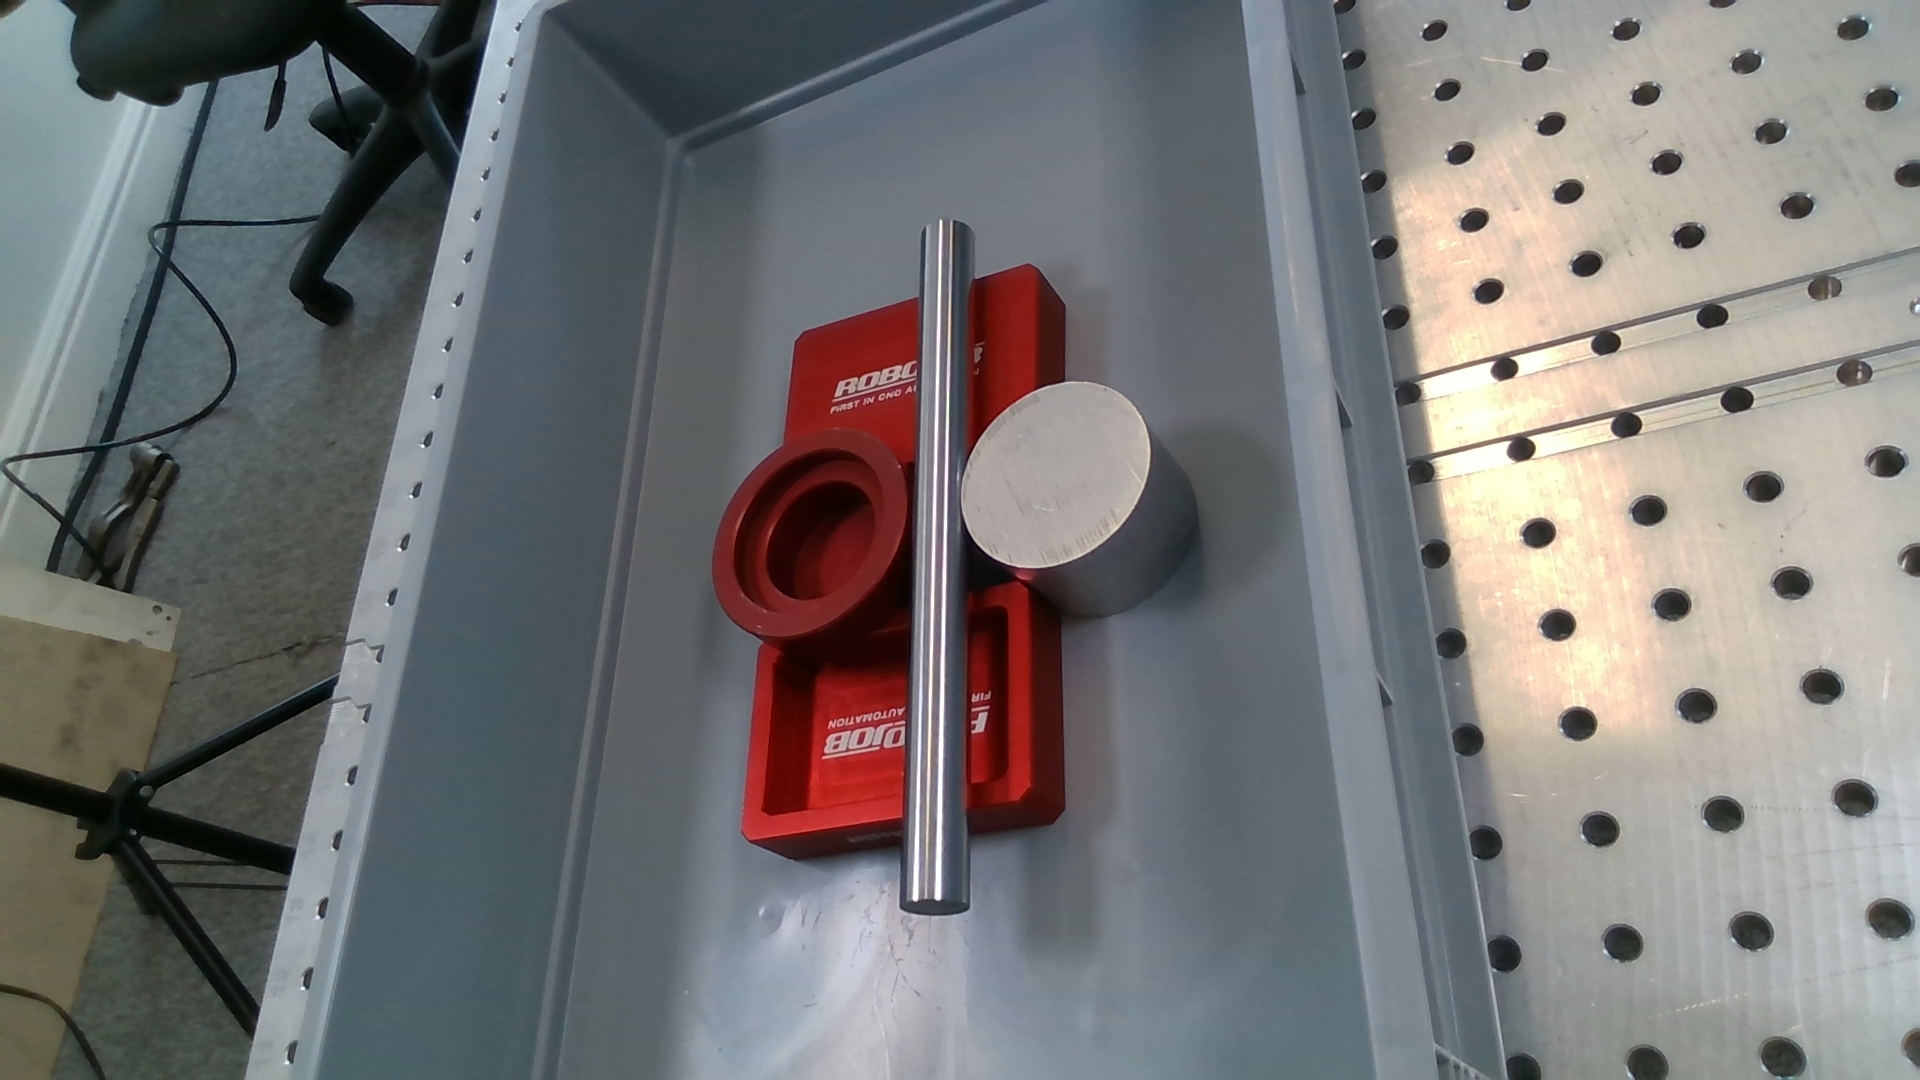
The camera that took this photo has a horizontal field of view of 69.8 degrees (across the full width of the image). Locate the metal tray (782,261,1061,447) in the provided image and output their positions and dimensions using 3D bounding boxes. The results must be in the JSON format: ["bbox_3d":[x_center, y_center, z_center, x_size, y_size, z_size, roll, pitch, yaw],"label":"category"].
[{"bbox_3d":[-0.018,-0.067,0.626,0.130,0.030,0.090,-12,60,26],"label":"metal tray"}]

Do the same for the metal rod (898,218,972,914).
[{"bbox_3d":[-0.008,-0.004,0.552,0.025,0.025,0.299,-14,59,25],"label":"metal rod"}]

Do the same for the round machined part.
[{"bbox_3d":[-0.055,0.004,0.594,0.098,0.042,0.098,-14,59,25],"label":"round machined part"}]

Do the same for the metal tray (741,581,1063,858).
[{"bbox_3d":[-0.024,0.074,0.556,0.130,0.030,0.090,-14,59,25],"label":"metal tray"}]

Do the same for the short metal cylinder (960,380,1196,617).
[{"bbox_3d":[0.047,-0.016,0.547,0.080,0.050,0.080,-14,59,25],"label":"short metal cylinder"}]
